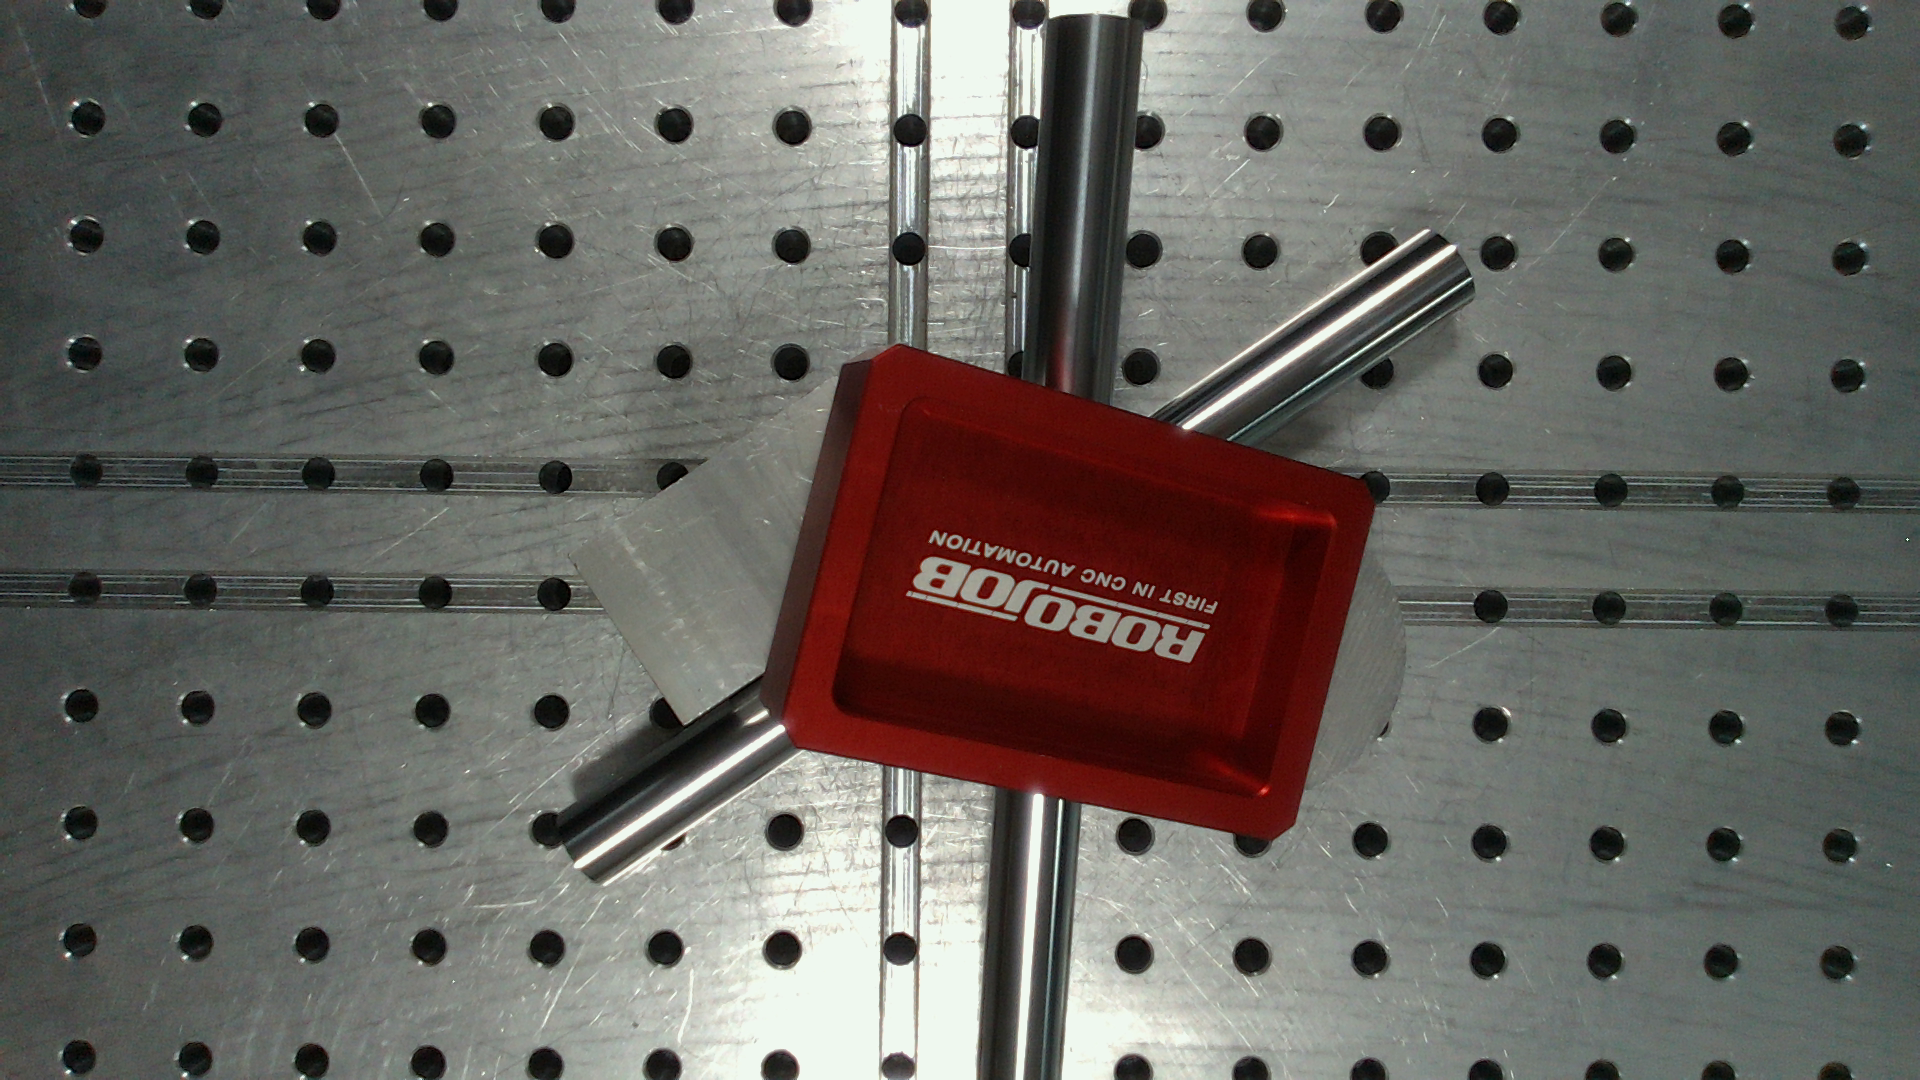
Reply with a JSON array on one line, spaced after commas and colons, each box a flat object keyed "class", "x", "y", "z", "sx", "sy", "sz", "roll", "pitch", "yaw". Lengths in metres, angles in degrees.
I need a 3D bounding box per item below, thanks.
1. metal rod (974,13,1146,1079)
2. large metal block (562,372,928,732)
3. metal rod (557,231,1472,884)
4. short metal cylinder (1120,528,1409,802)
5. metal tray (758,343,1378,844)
[{"class": "metal rod", "x": 0.026, "y": 0.016, "z": 0.375, "sx": 0.025, "sy": 0.025, "sz": 0.300, "roll": 4, "pitch": 99, "yaw": 0}, {"class": "large metal block", "x": -0.048, "y": 0.003, "z": 0.369, "sx": 0.080, "sy": 0.080, "sz": 0.050, "roll": -34, "pitch": 90, "yaw": 0}, {"class": "metal rod", "x": 0.016, "y": 0.005, "z": 0.398, "sx": 0.300, "sy": 0.025, "sz": 0.025, "roll": -34, "pitch": 90, "yaw": 0}, {"class": "short metal cylinder", "x": 0.078, "y": 0.029, "z": 0.384, "sx": 0.080, "sy": 0.050, "sz": 0.080, "roll": 0, "pitch": 90, "yaw": 0}, {"class": "metal tray", "x": 0.027, "y": 0.015, "z": 0.325, "sx": 0.130, "sy": 0.030, "sz": 0.090, "roll": 14, "pitch": 90, "yaw": -19}]
